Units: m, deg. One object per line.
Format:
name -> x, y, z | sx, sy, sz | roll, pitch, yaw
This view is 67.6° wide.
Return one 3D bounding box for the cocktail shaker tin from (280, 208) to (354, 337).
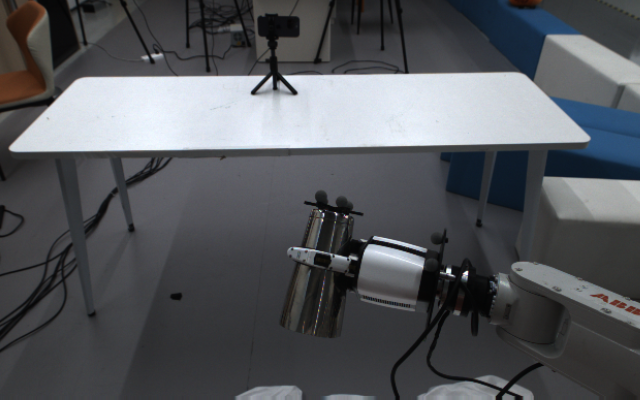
cocktail shaker tin -> 0.003, 0.103, 0.705 | 0.093, 0.170, 0.093 | 11, -5, 1
